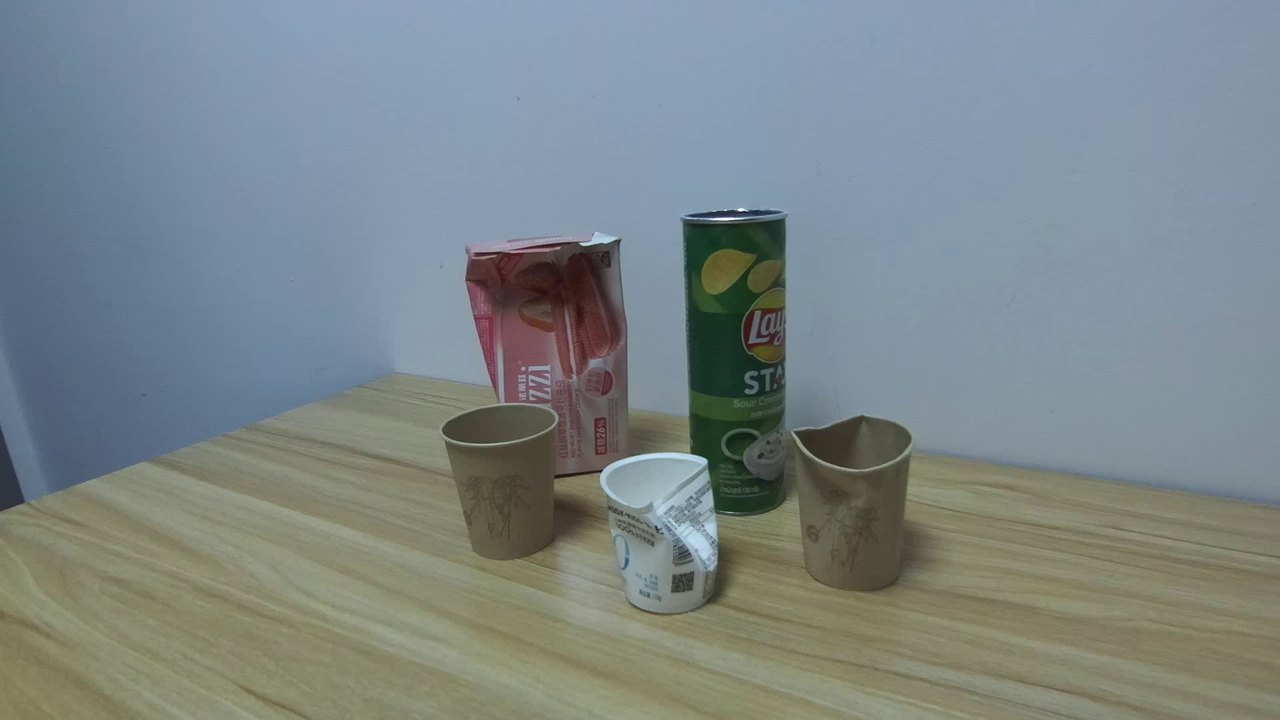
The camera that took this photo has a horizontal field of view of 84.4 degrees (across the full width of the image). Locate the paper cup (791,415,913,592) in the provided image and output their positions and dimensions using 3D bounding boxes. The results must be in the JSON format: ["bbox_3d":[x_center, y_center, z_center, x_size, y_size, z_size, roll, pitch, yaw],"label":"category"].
[{"bbox_3d":[0.125,0.082,0.404,0.072,0.084,0.066,-10,17,-26],"label":"paper cup"}]

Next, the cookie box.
[{"bbox_3d":[-0.068,-0.001,0.548,0.118,0.184,0.055,-6,16,-5],"label":"cookie box"}]

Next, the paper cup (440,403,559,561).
[{"bbox_3d":[-0.086,0.079,0.457,0.075,0.082,0.075,-3,16,1],"label":"paper cup"}]

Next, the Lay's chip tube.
[{"bbox_3d":[0.066,0.000,0.484,0.071,0.202,0.071,-3,16,1],"label":"Lay's chip tube"}]

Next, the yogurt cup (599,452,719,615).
[{"bbox_3d":[0.012,0.097,0.397,0.067,0.070,0.067,-4,17,2],"label":"yogurt cup"}]
